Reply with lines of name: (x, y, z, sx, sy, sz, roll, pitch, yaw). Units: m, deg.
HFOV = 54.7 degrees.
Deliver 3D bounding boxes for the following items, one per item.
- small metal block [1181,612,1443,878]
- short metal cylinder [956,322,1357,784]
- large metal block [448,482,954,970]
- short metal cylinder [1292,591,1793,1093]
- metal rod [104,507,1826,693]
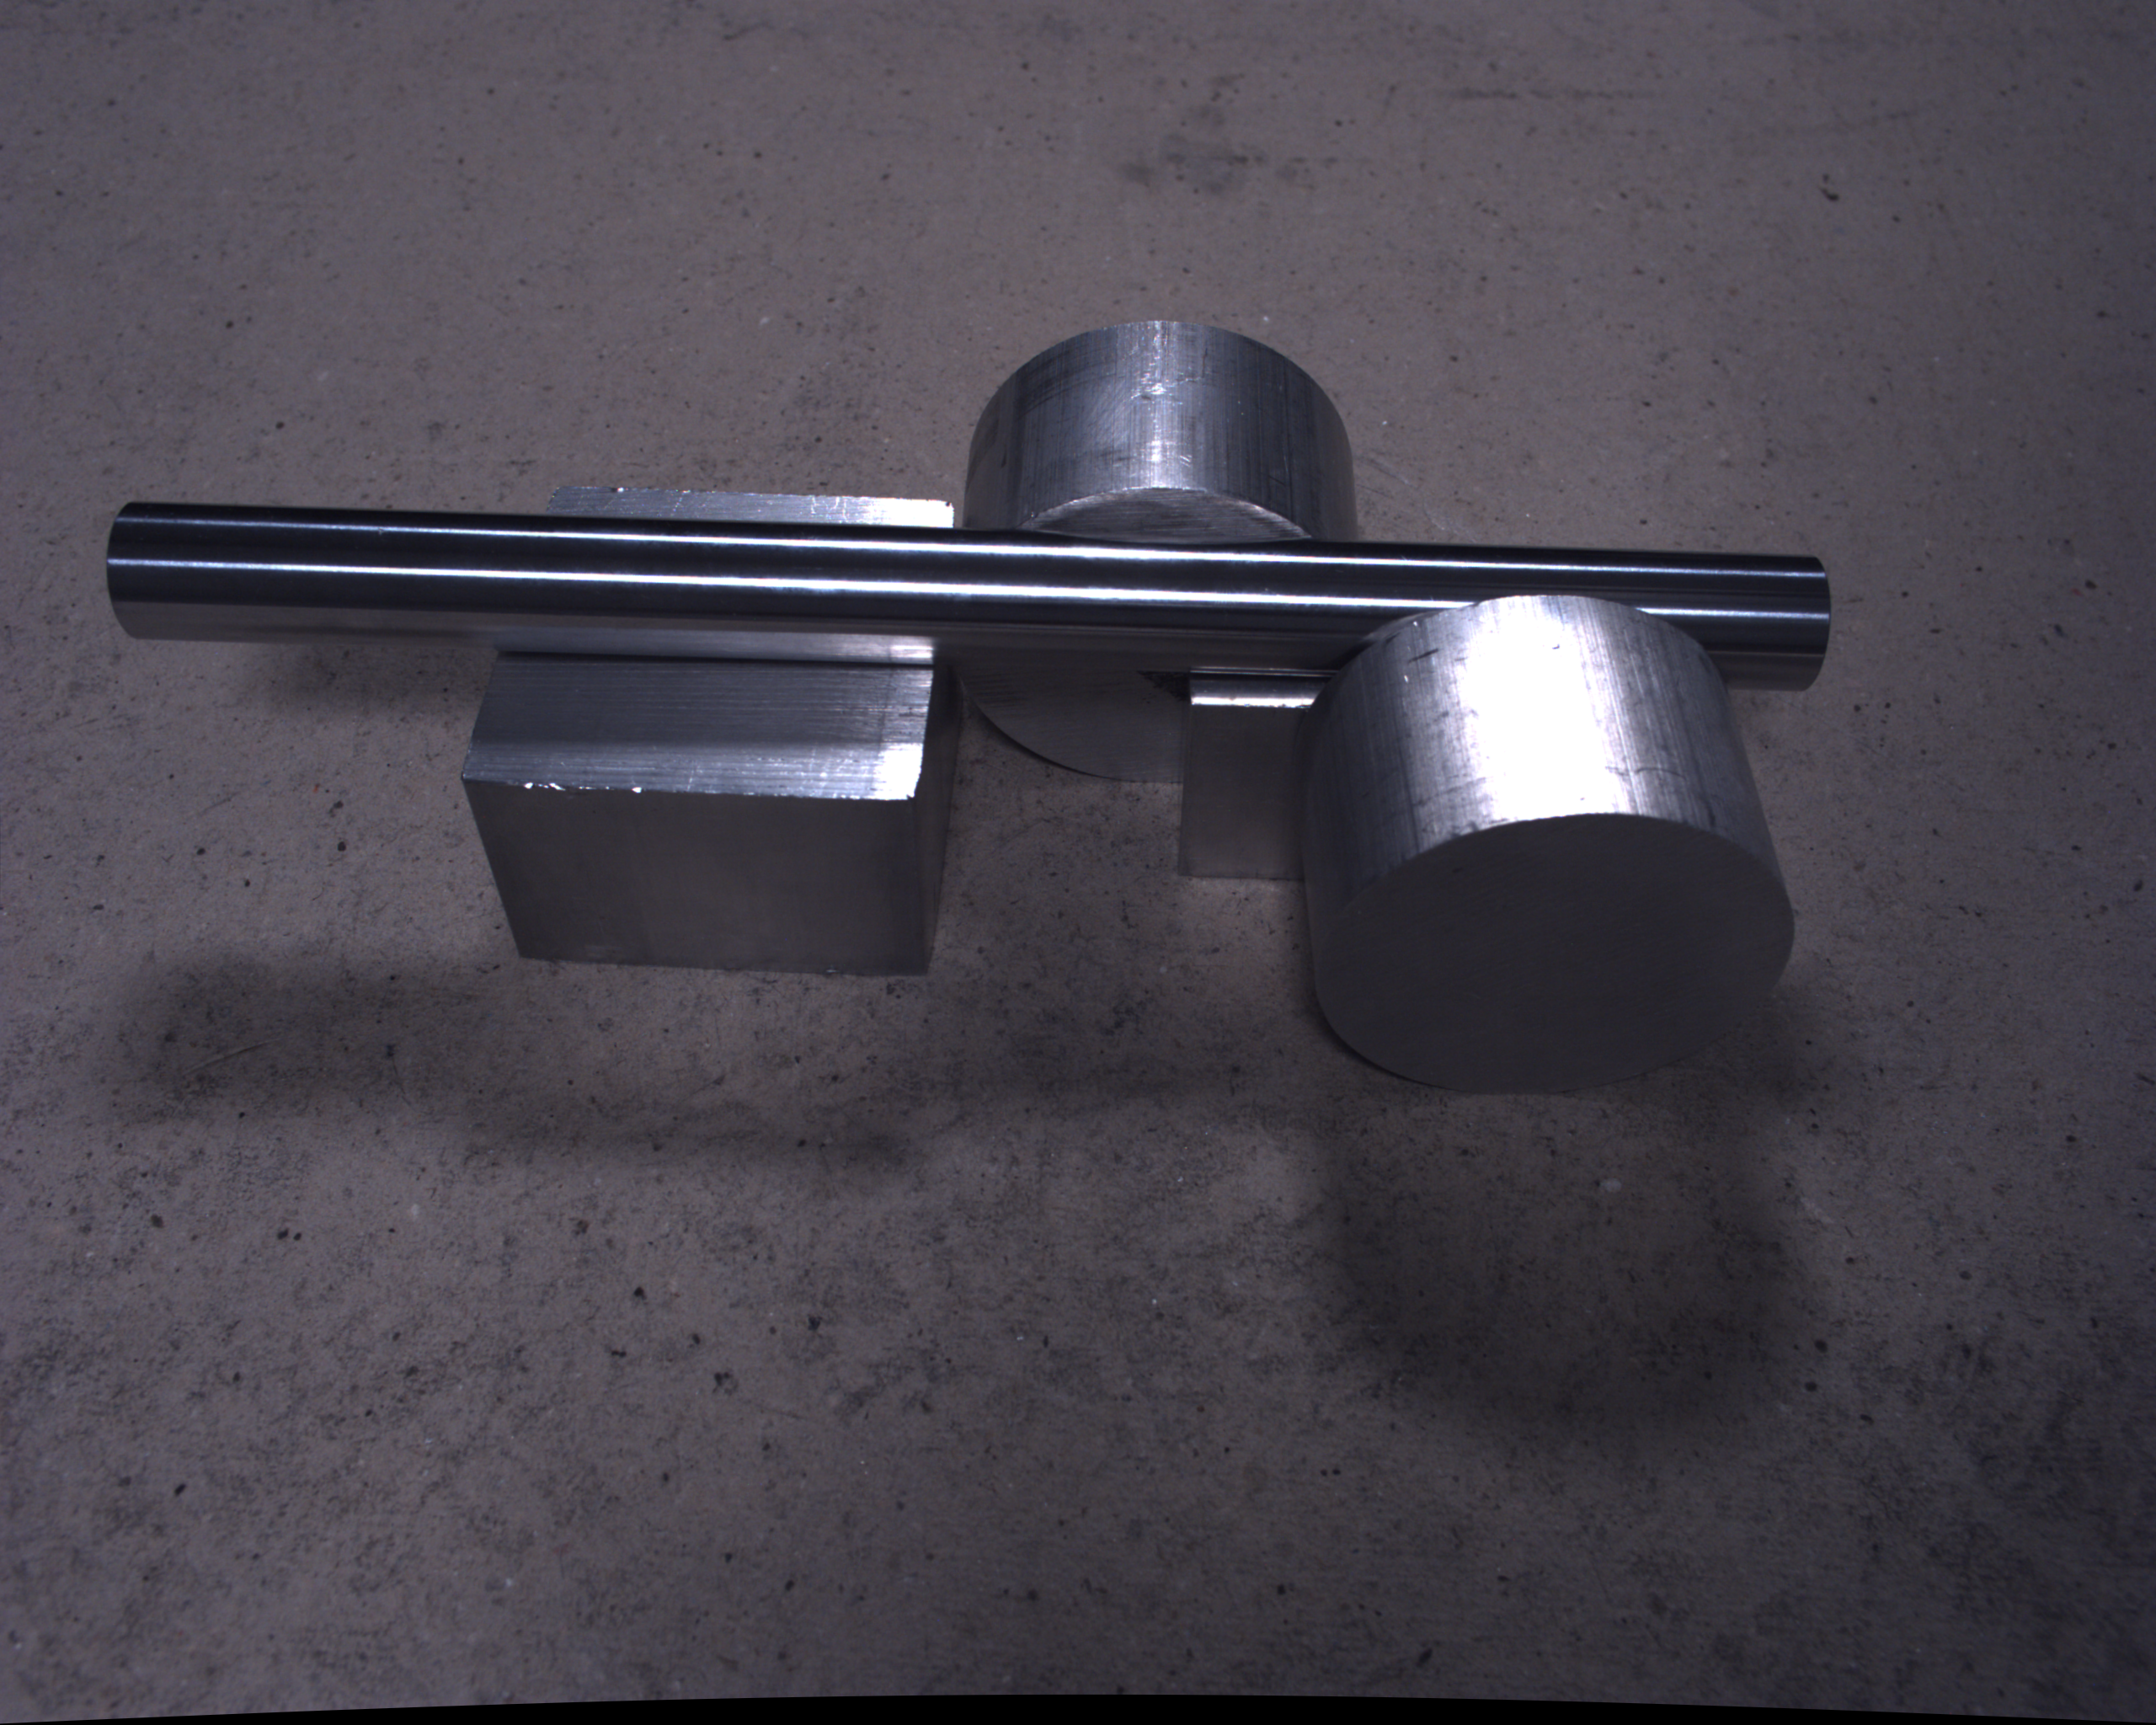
small metal block: (0.046, -0.022, 0.406, 0.050, 0.050, 0.025, 1, 50, 0)
short metal cylinder: (0.016, -0.061, 0.421, 0.081, 0.080, 0.050, 2, 50, 1)
large metal block: (-0.067, -0.027, 0.407, 0.081, 0.050, 0.080, 3, 50, 1)
short metal cylinder: (0.080, -0.002, 0.371, 0.081, 0.080, 0.050, 0, 50, -1)
metal rod: (-0.019, -0.048, 0.378, 0.302, 0.025, 0.025, 2, 50, -1)
